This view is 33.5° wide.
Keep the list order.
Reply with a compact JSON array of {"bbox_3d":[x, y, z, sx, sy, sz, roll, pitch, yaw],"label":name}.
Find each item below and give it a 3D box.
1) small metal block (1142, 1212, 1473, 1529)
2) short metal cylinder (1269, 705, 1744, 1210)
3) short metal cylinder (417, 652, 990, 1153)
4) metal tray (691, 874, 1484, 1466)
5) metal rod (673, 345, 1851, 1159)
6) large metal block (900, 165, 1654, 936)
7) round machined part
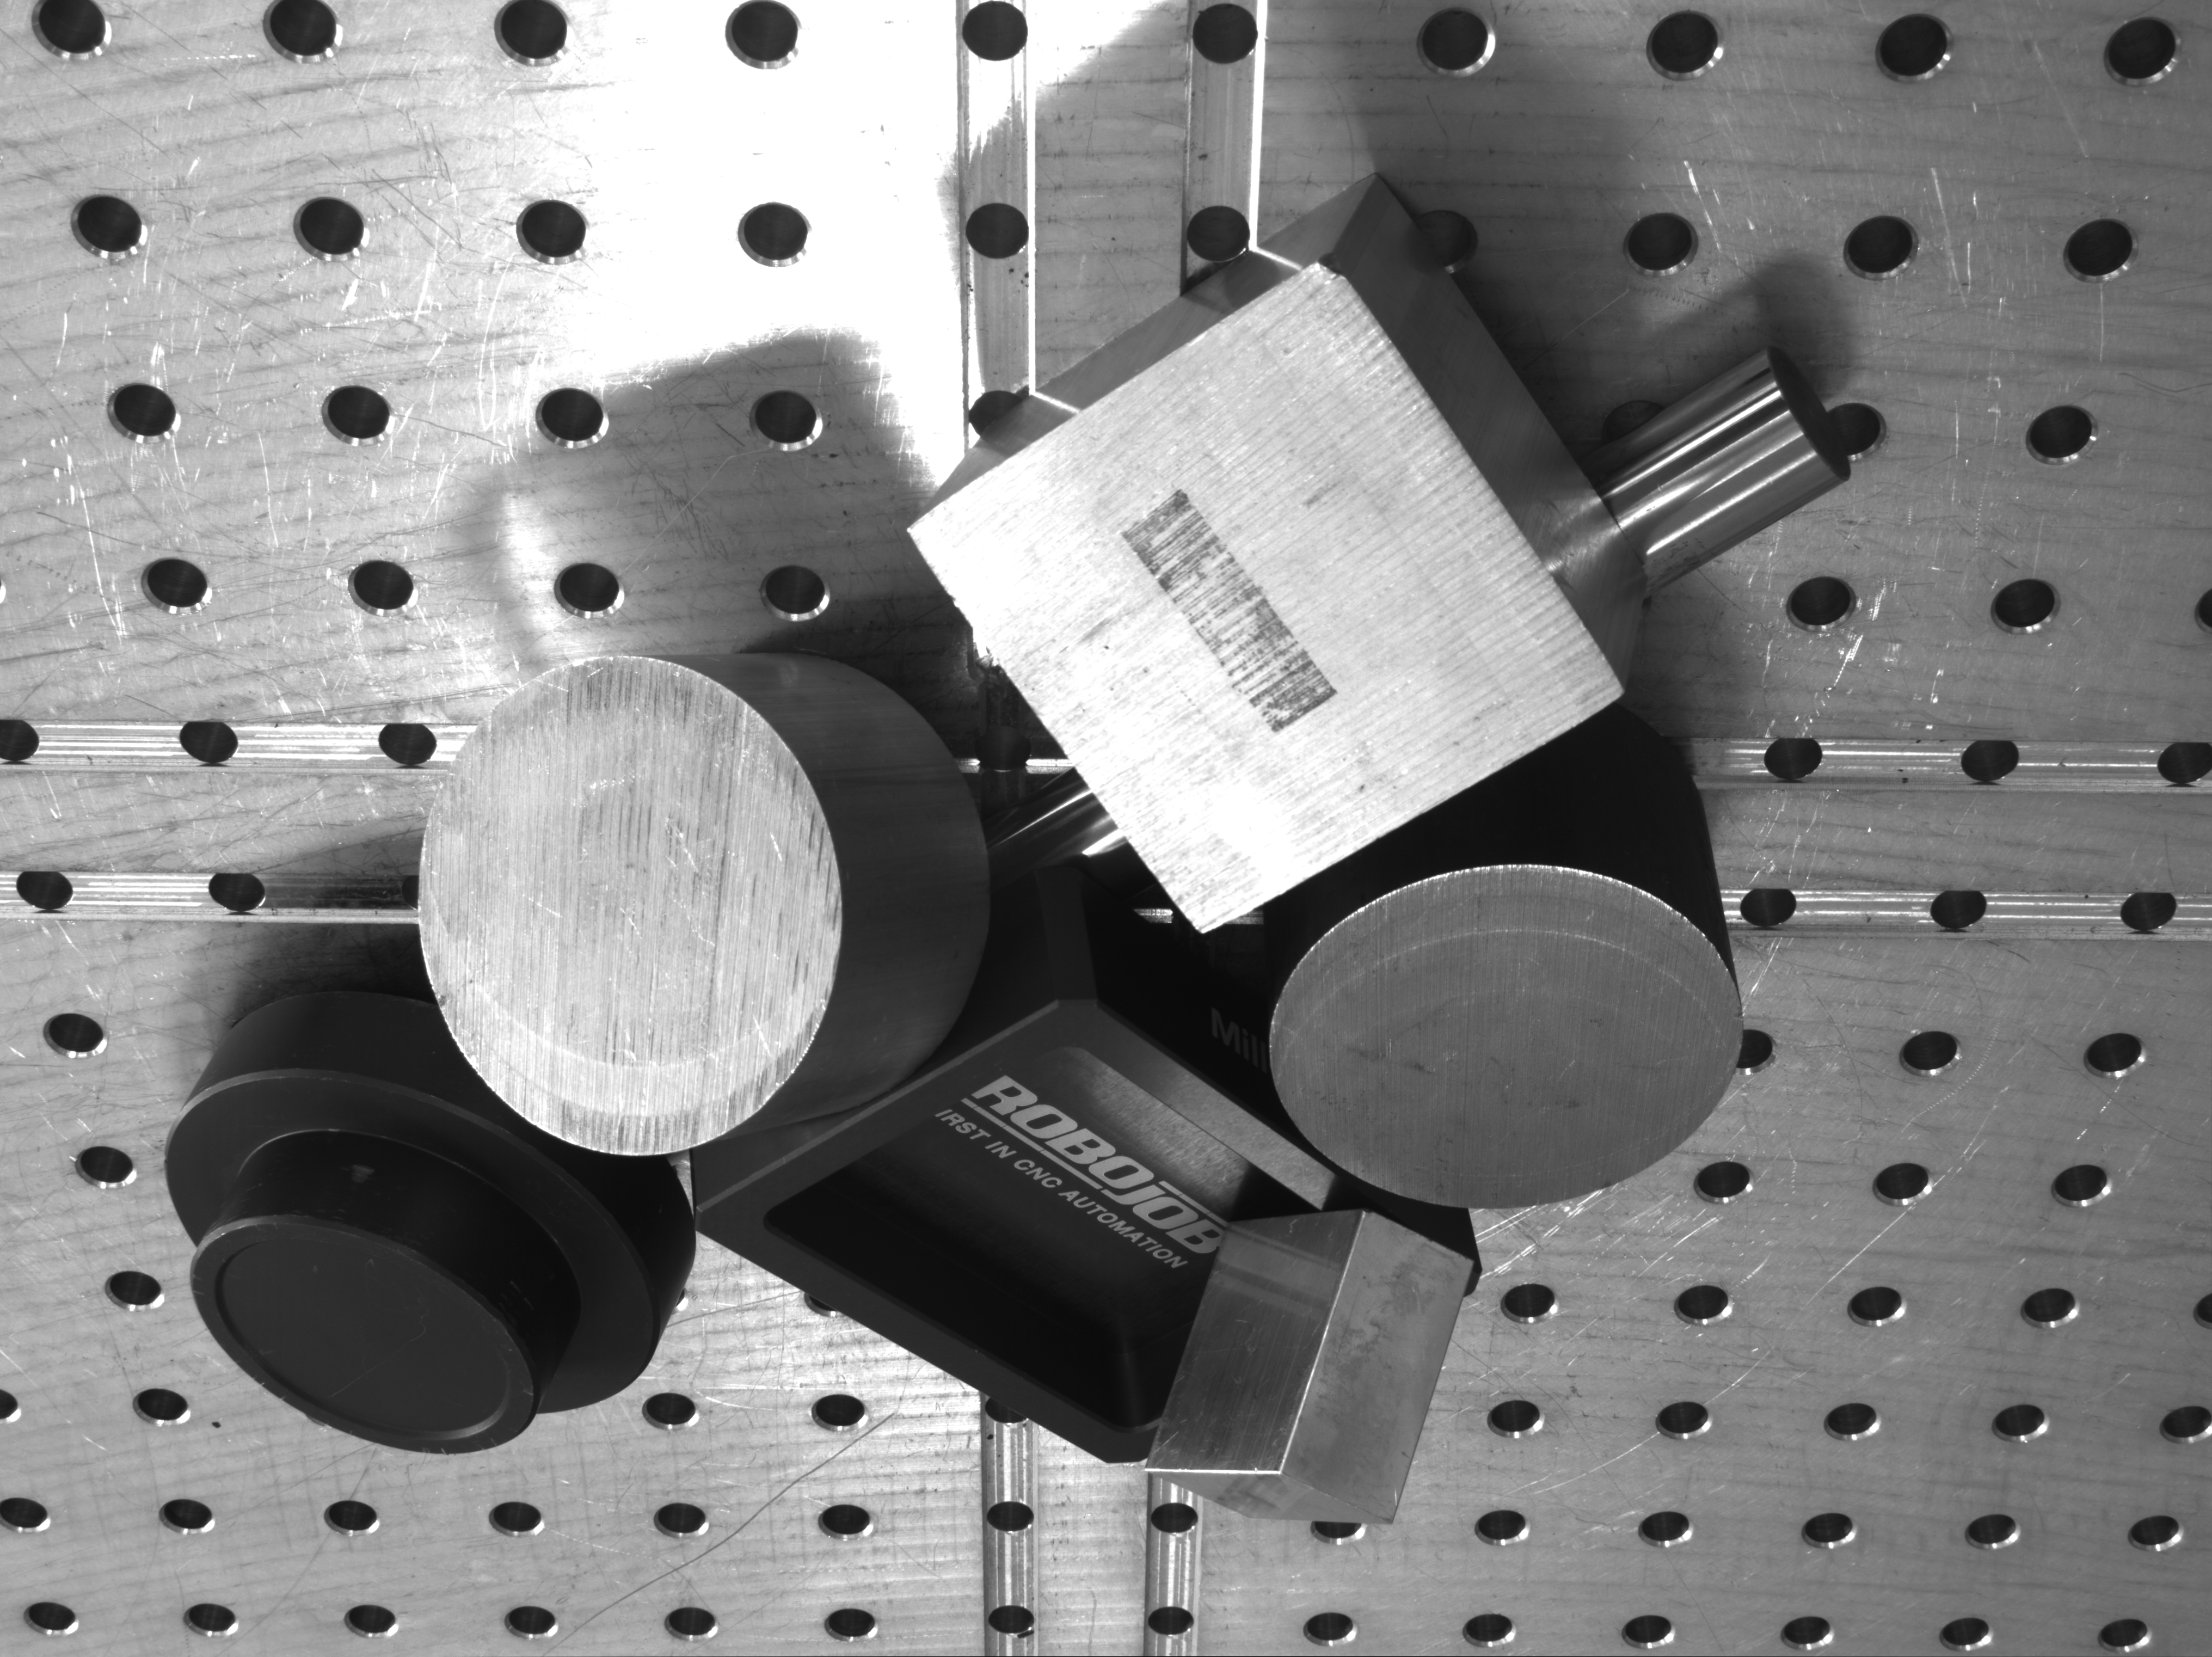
[{"bbox_3d":[0.036,0.099,0.672,0.025,0.050,0.050,26,160,-23],"label":"small metal block"},{"bbox_3d":[0.068,0.021,0.643,0.080,0.050,0.080,0,130,0],"label":"short metal cylinder"},{"bbox_3d":[-0.066,0.011,0.609,0.080,0.050,0.080,2,94,25],"label":"short metal cylinder"},{"bbox_3d":[-0.002,0.067,0.677,0.090,0.030,0.130,-30,136,23],"label":"metal tray"},{"bbox_3d":[-0.006,0.003,0.647,0.299,0.025,0.025,-30,124,24],"label":"metal rod"},{"bbox_3d":[0.028,-0.043,0.575,0.080,0.050,0.080,-30,104,23],"label":"large metal block"},{"bbox_3d":[-0.129,0.079,0.680,0.098,0.042,0.098,11,137,11],"label":"round machined part"}]
